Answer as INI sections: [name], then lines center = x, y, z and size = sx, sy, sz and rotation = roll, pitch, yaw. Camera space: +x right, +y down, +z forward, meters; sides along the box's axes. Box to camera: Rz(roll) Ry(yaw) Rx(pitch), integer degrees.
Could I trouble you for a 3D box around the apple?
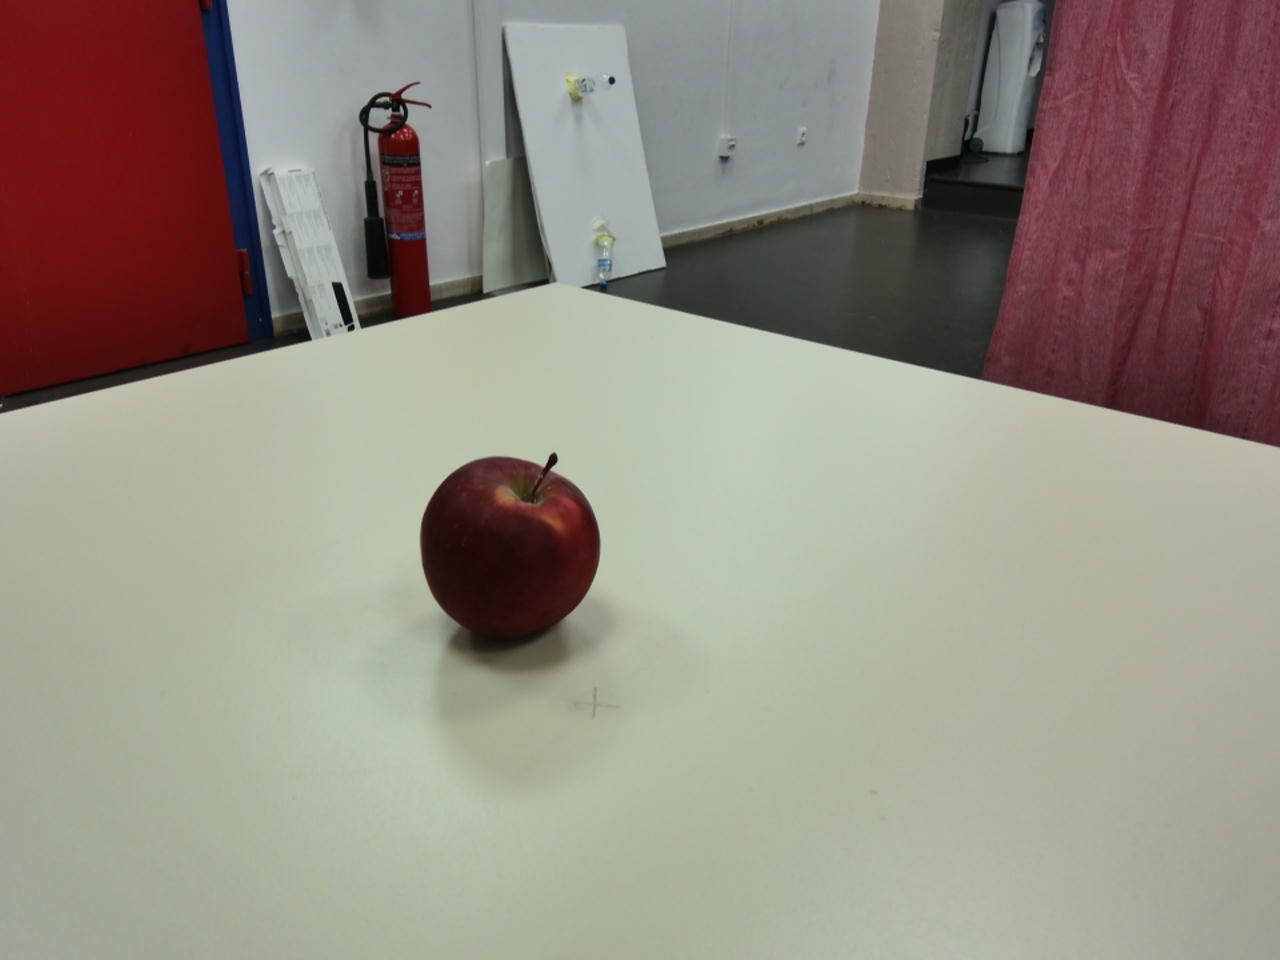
[apple]
center = -0.051, 0.026, 0.394
size = 0.070, 0.072, 0.070
rotation = 0, 23, 0
